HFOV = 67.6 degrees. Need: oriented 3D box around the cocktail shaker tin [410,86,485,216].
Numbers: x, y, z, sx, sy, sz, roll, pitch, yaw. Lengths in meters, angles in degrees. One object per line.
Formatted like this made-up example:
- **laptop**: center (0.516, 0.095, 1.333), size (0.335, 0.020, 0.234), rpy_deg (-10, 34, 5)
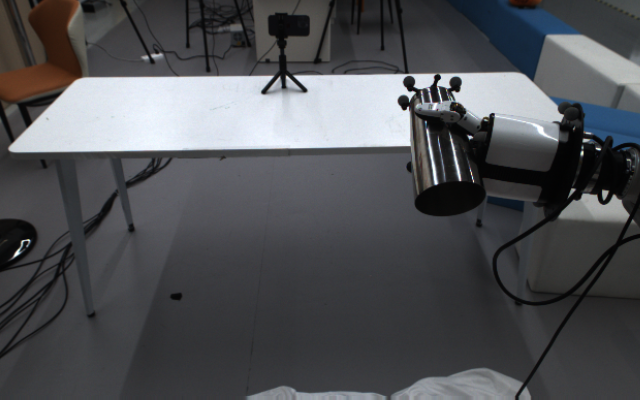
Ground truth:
- **cocktail shaker tin**: center (0.167, -0.074, 0.671), size (0.093, 0.093, 0.170), rpy_deg (0, 59, -3)
